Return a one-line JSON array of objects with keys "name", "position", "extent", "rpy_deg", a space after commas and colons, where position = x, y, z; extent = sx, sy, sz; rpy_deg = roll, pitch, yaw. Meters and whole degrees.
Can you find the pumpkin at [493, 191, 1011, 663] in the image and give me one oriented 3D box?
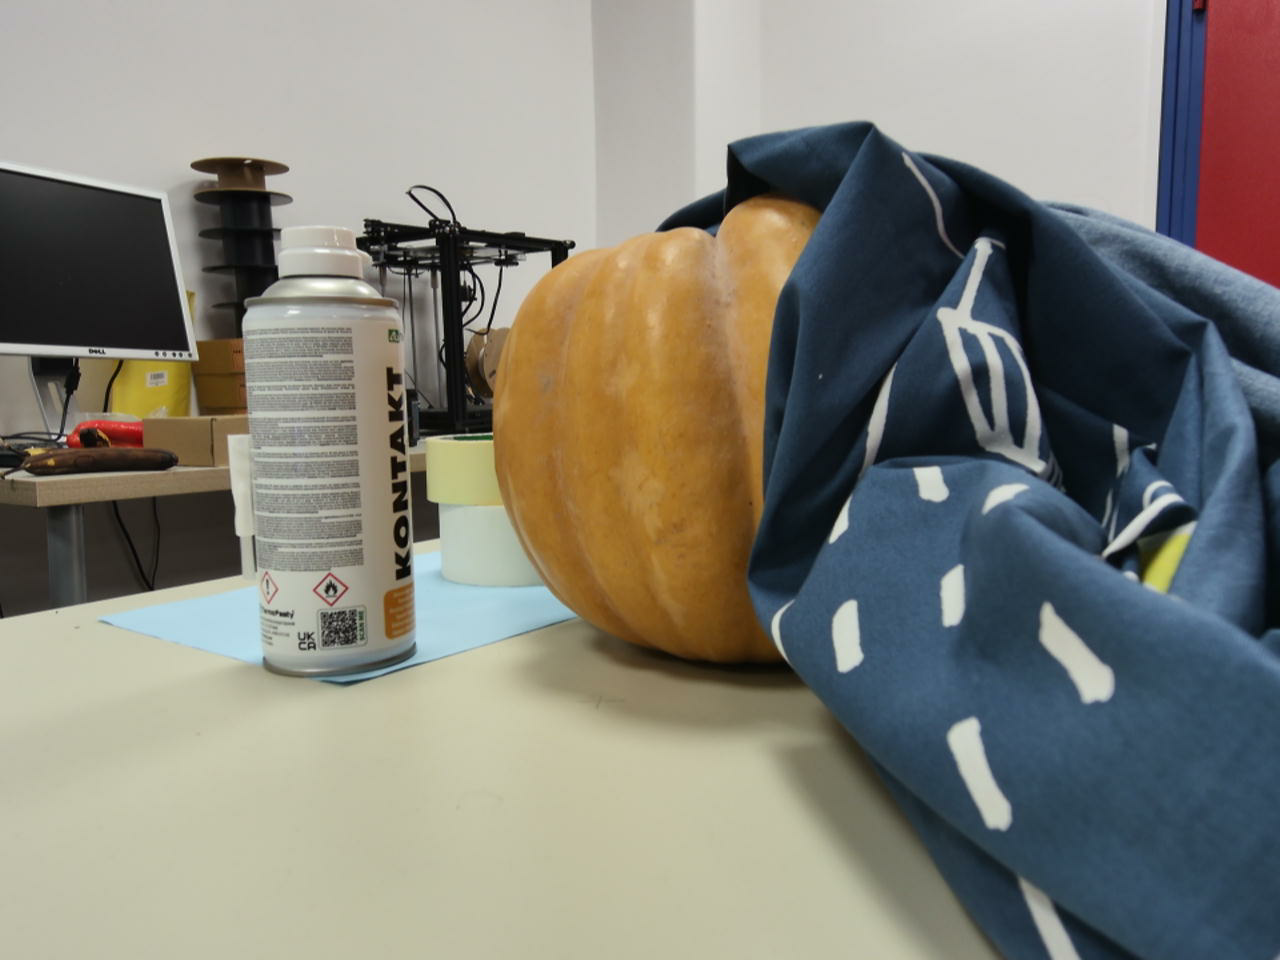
[{"name": "pumpkin", "position": [0.048, -0.020, 0.448], "extent": [0.230, 0.194, 0.230], "rpy_deg": [1, 3, 0]}]
